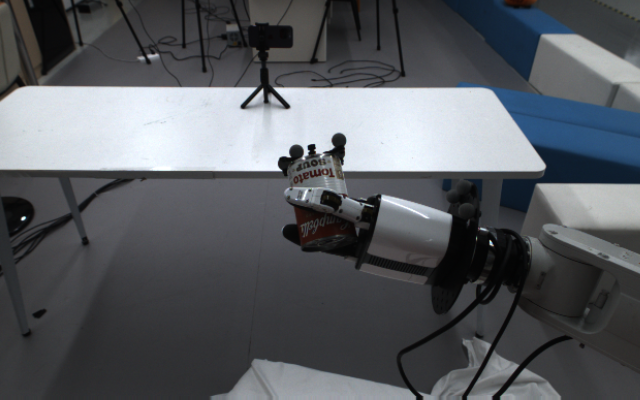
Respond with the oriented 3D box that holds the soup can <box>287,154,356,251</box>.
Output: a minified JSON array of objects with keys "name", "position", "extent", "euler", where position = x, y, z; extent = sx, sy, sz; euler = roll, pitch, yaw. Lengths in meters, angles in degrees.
[{"name":"soup can","position":[0.004,0.004,0.574],"extent":[0.067,0.067,0.101],"euler":[-8,74,-14]}]
